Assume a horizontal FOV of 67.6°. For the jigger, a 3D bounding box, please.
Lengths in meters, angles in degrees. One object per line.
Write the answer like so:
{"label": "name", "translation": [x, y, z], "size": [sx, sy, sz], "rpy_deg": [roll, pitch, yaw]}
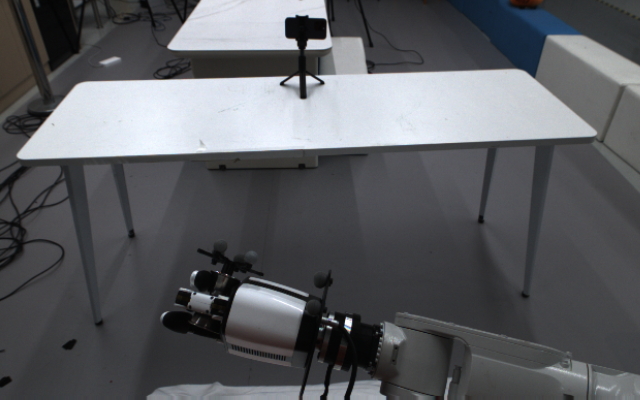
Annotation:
{"label": "jigger", "translation": [-0.128, 0.124, 0.596], "size": [0.043, 0.043, 0.071], "rpy_deg": [15, 70, 18]}
